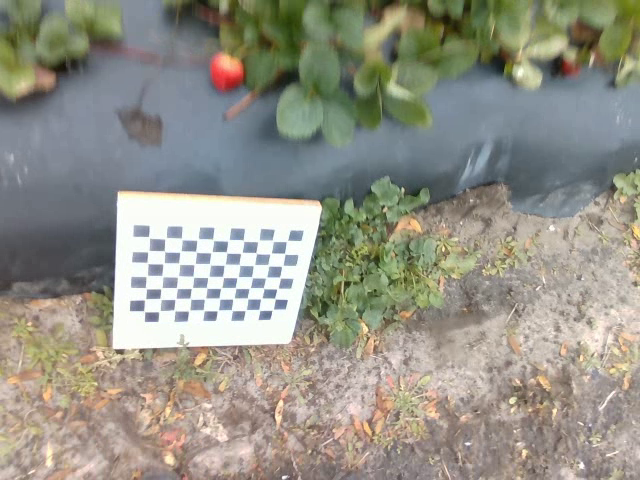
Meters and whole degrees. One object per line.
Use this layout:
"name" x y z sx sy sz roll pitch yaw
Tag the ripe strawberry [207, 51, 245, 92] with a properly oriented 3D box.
"ripe strawberry" -0.153 -0.286 0.972 0.061 0.065 0.050 10 24 -27
